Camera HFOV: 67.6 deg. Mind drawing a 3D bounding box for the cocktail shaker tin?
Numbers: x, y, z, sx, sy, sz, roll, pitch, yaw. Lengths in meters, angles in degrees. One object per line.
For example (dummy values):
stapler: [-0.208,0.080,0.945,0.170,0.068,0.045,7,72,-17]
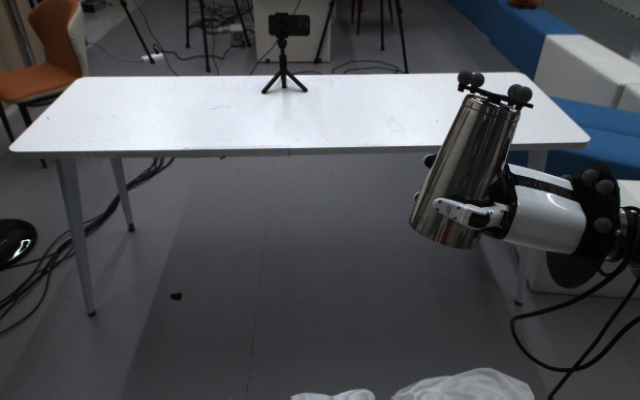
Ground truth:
cocktail shaker tin: [0.180,-0.037,0.594,0.093,0.170,0.093,14,20,-5]
